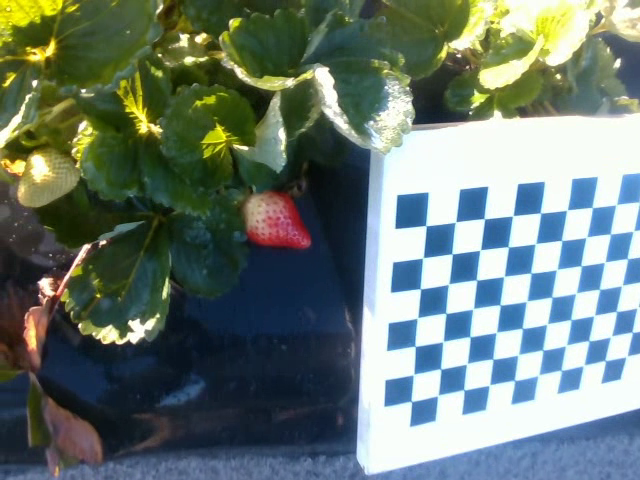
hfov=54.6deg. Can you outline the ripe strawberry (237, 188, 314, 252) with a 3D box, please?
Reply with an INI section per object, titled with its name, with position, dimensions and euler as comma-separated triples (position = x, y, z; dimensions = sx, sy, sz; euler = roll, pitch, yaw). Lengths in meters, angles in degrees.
[ripe strawberry]
position = -0.030, -0.006, 0.441
dimensions = 0.065, 0.040, 0.040
euler = 37, 1, -28
